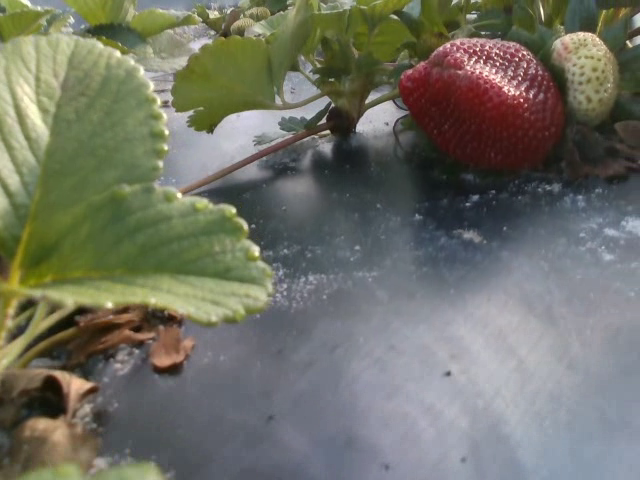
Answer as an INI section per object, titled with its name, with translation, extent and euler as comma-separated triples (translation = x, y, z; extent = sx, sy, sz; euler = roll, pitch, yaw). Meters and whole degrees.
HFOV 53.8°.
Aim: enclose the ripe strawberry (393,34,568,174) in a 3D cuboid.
[ripe strawberry]
translation = 0.058, -0.051, 0.230
extent = 0.070, 0.058, 0.057
euler = 18, -49, -41
